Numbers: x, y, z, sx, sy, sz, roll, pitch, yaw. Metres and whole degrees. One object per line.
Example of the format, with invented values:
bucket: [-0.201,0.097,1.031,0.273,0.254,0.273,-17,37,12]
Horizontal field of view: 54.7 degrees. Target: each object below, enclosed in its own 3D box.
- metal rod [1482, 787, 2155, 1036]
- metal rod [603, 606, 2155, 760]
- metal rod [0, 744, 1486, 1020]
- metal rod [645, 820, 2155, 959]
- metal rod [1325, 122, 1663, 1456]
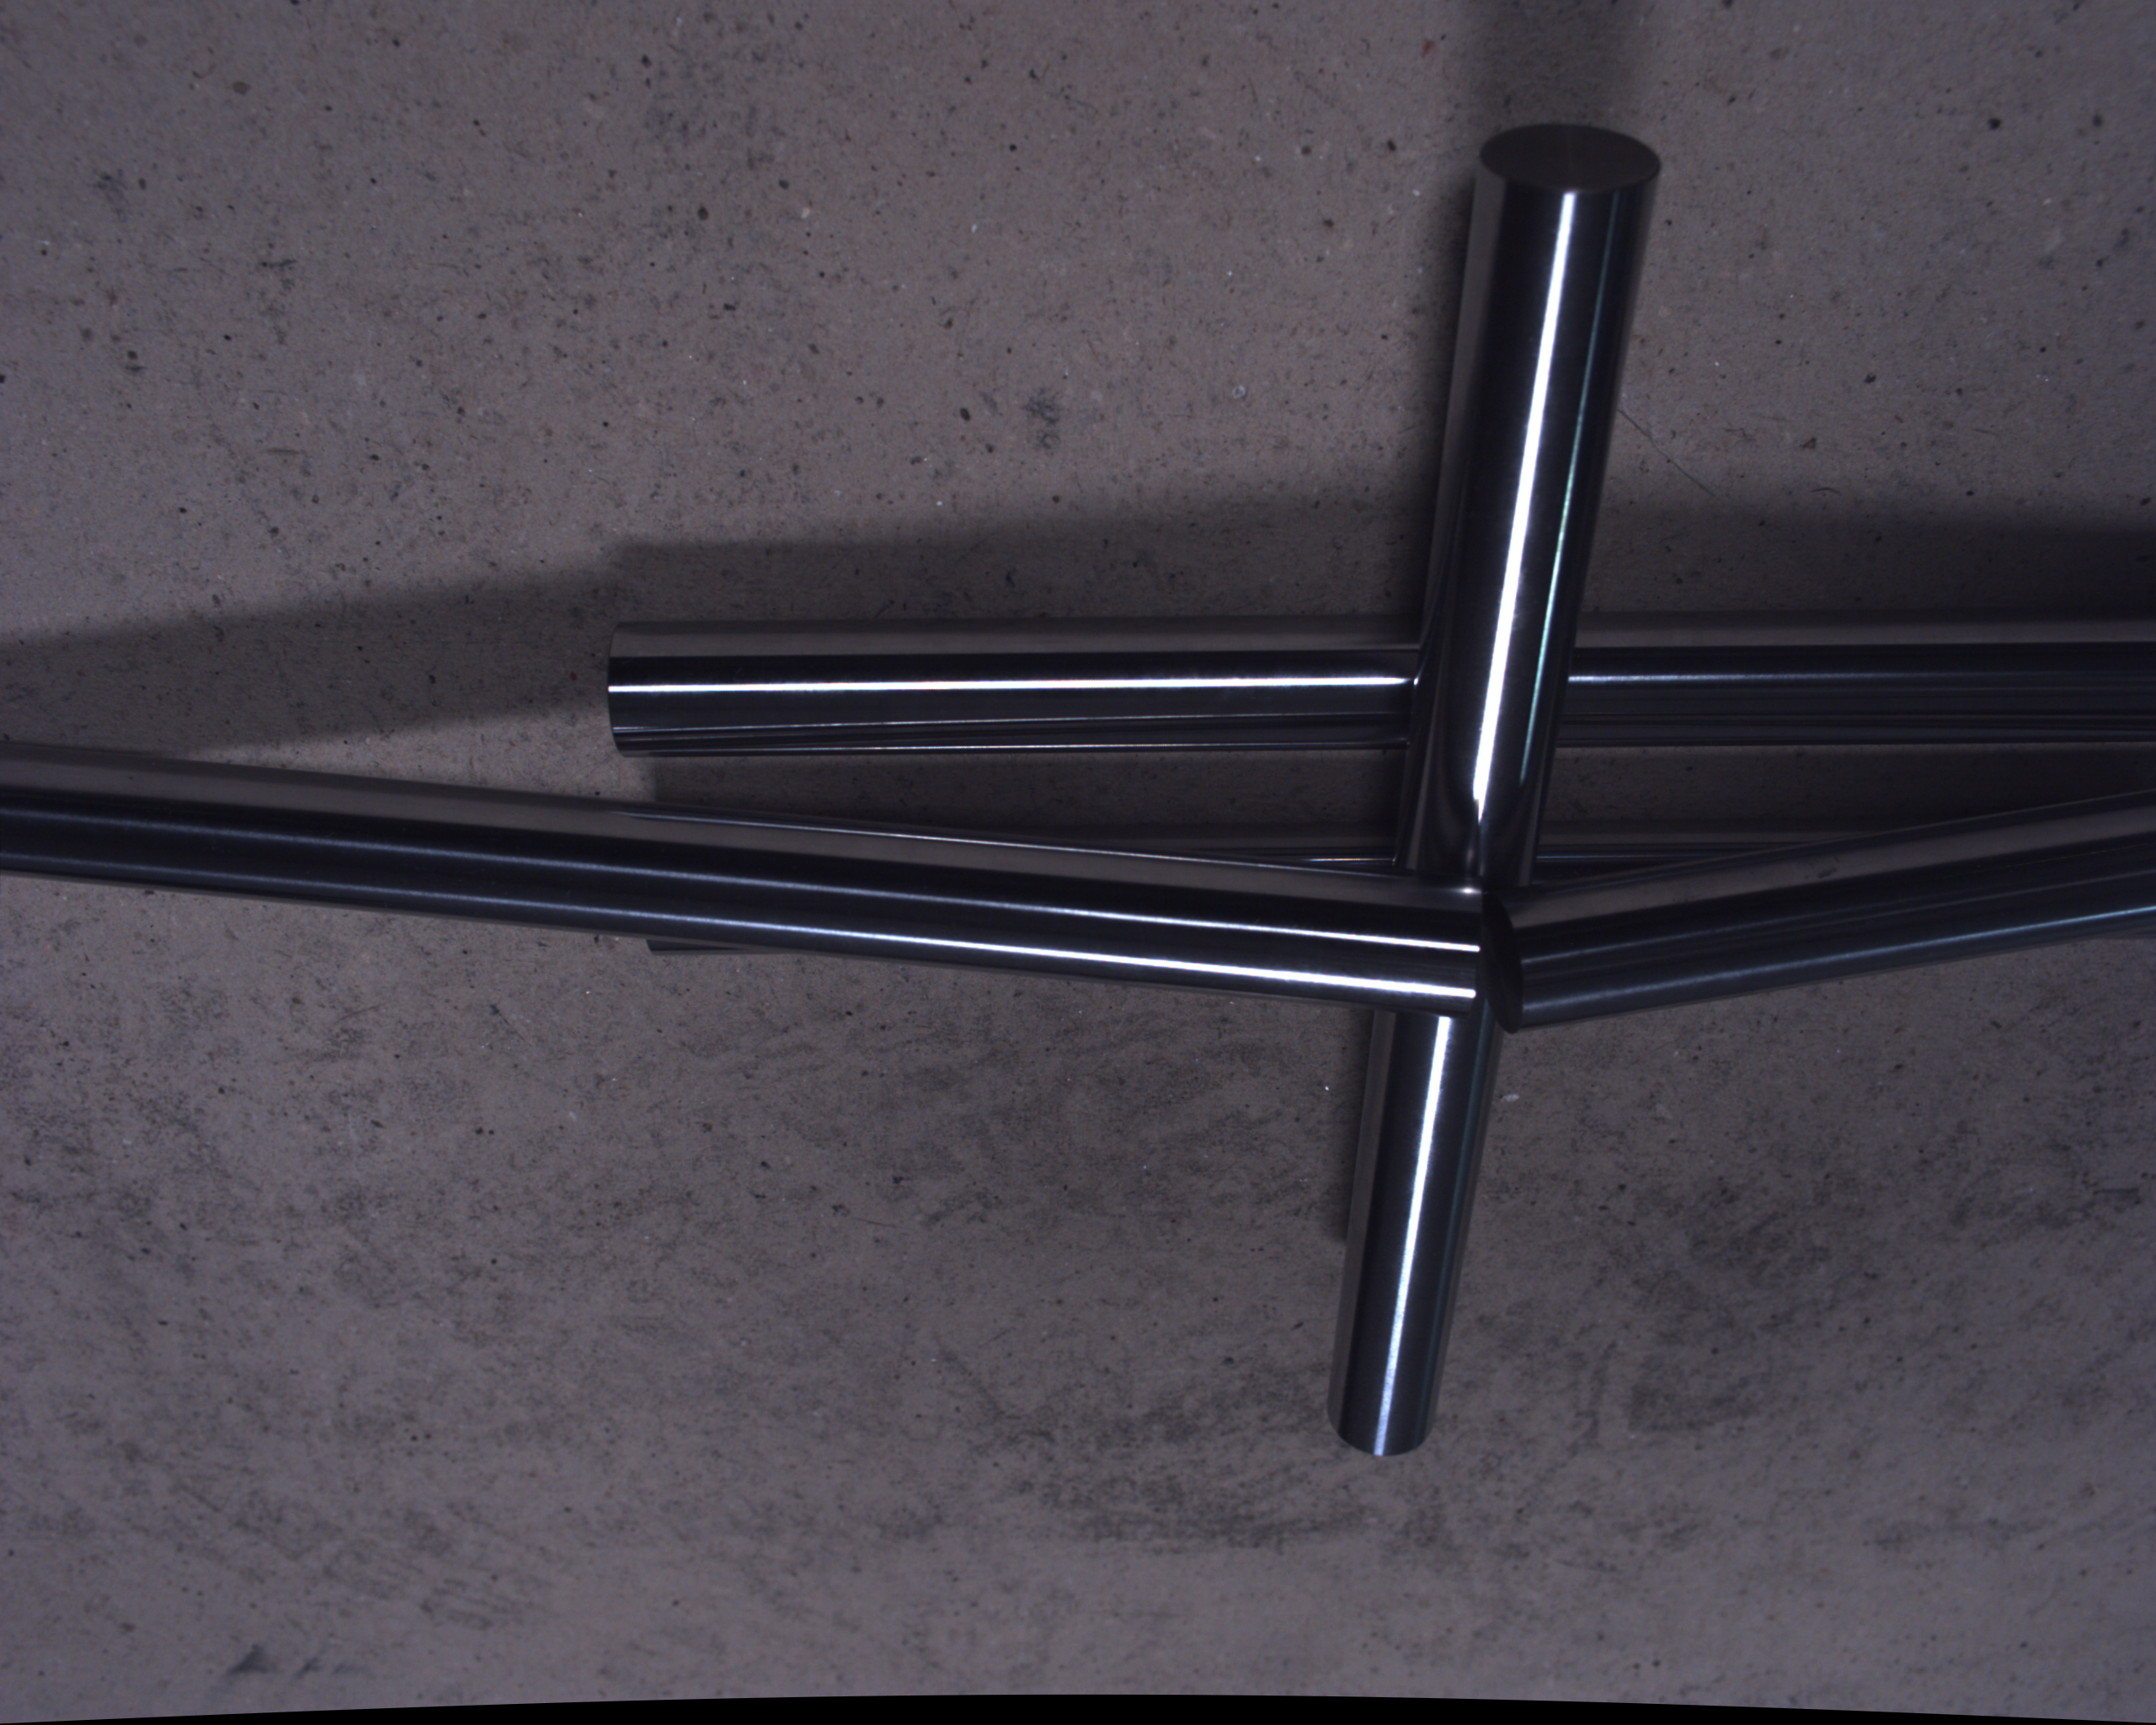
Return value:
metal rod: [0.220,-0.005,0.375,0.302,0.025,0.025,-9,131,-6]
metal rod: [0.067,-0.033,0.381,0.302,0.025,0.025,-1,130,0]
metal rod: [-0.080,0.001,0.375,0.302,0.025,0.025,5,131,7]
metal rod: [0.067,0.005,0.413,0.302,0.025,0.025,-1,130,0]
metal rod: [0.070,0.014,0.389,0.025,0.025,0.298,0,130,0]
